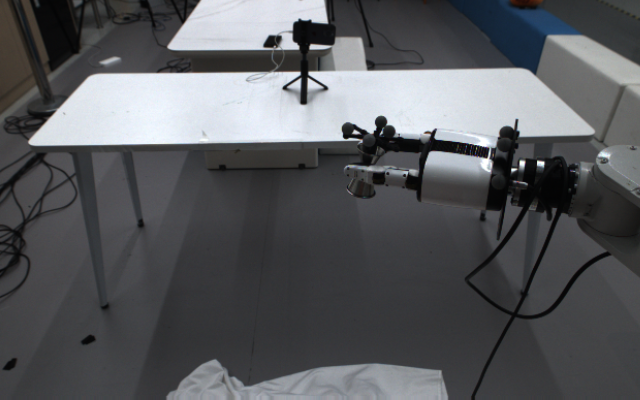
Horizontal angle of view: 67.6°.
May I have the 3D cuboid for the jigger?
[{"bbox_3d":[0.064,-0.043,0.690,0.043,0.071,0.043,9,30,-5],"label":"jigger"}]
